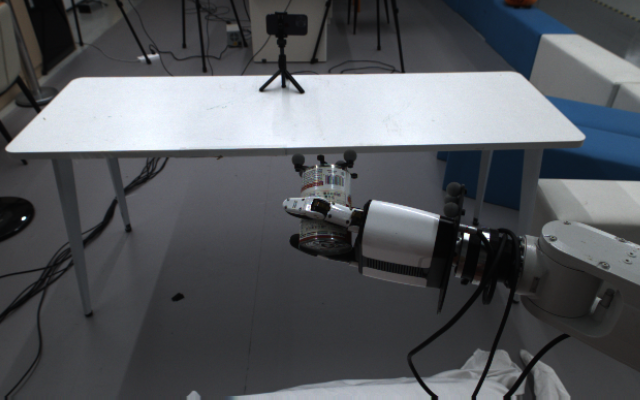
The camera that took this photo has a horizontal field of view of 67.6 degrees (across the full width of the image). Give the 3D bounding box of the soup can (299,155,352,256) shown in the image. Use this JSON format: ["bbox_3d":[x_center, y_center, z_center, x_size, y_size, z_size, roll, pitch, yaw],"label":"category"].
[{"bbox_3d":[0.009,0.014,0.620,0.067,0.067,0.101,2,68,-1],"label":"soup can"}]
